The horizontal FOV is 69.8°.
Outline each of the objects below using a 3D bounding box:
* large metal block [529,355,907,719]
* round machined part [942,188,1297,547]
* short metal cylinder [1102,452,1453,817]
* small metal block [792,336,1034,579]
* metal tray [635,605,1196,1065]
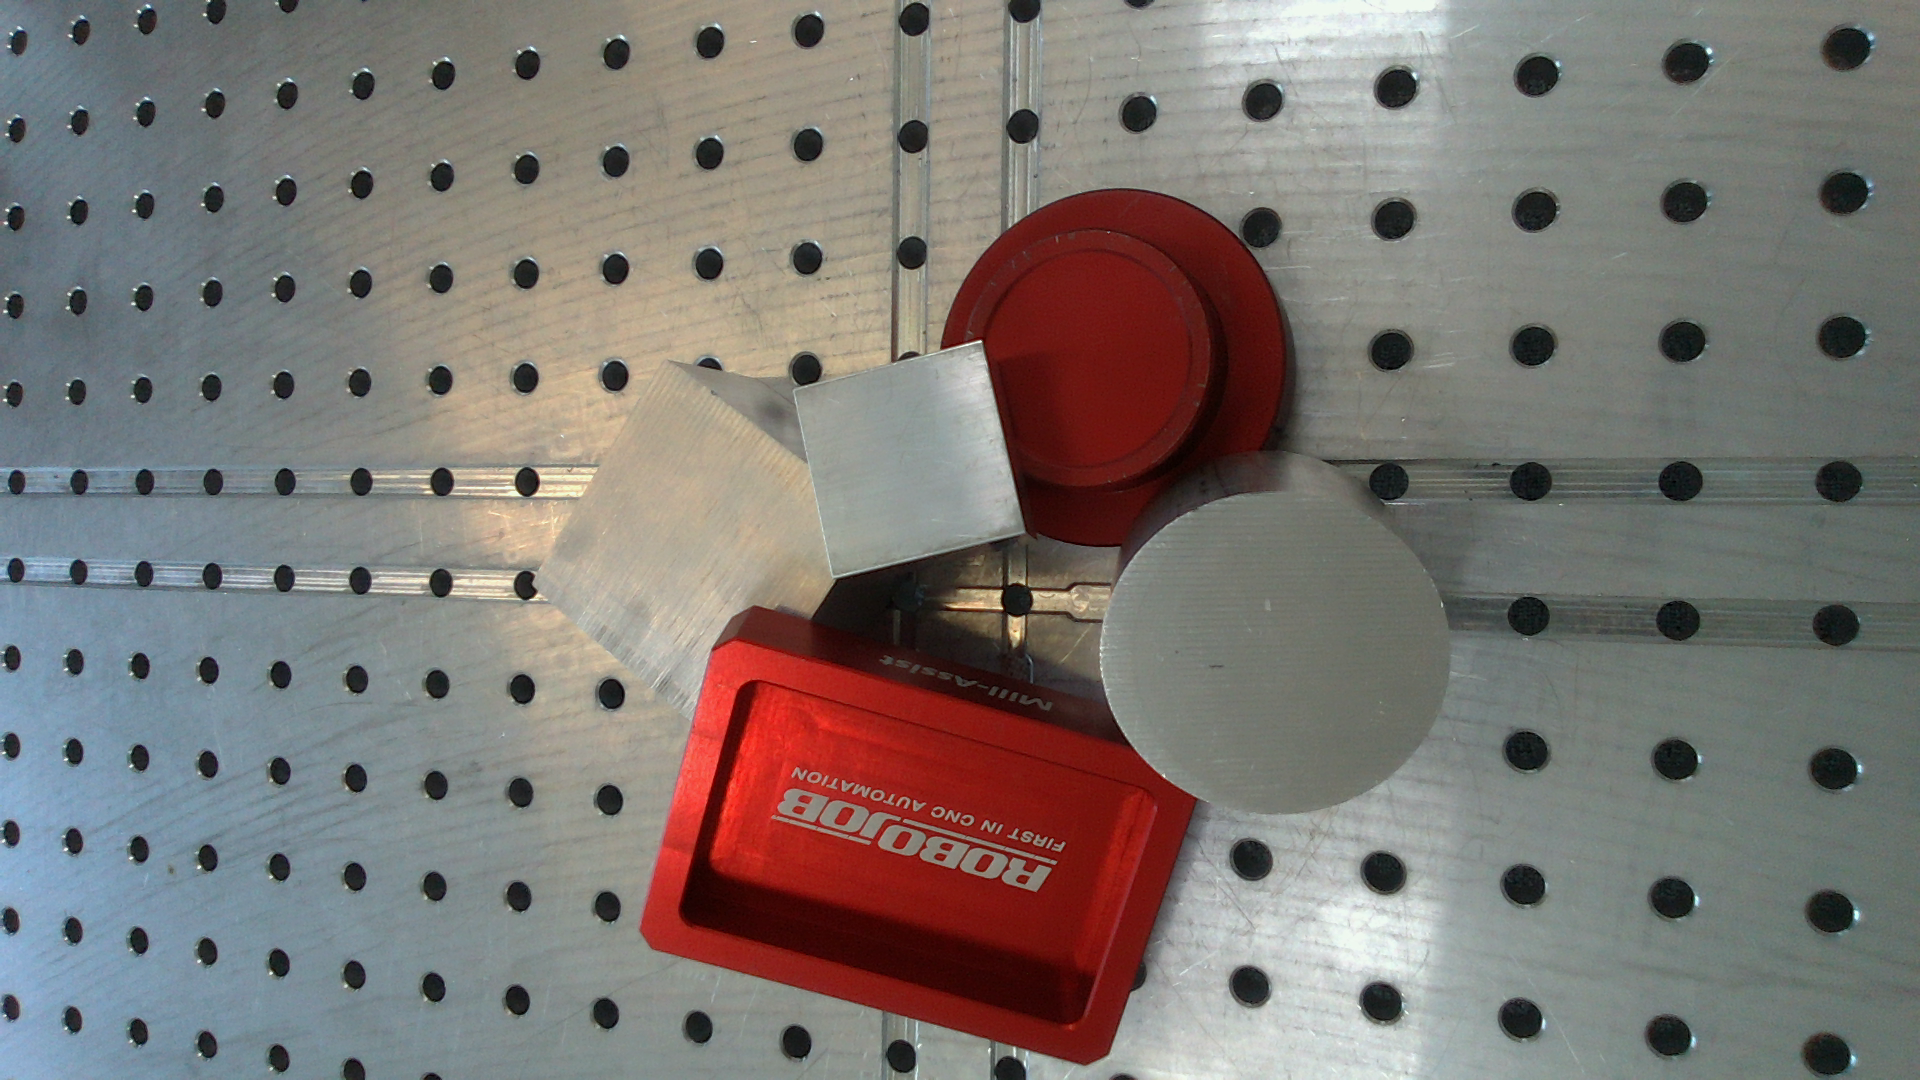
[{"bbox_3d":[-0.066,0.004,0.409,0.080,0.050,0.080,37,102,16],"label":"large metal block"},{"bbox_3d":[0.039,-0.047,0.375,0.098,0.042,0.098,0,90,20],"label":"round machined part"},{"bbox_3d":[0.077,0.022,0.345,0.080,0.050,0.080,2,104,8],"label":"short metal cylinder"},{"bbox_3d":[-0.011,-0.019,0.353,0.050,0.025,0.050,-13,83,8],"label":"small metal block"},{"bbox_3d":[-0.012,0.079,0.369,0.130,0.030,0.090,16,103,-3],"label":"metal tray"}]
